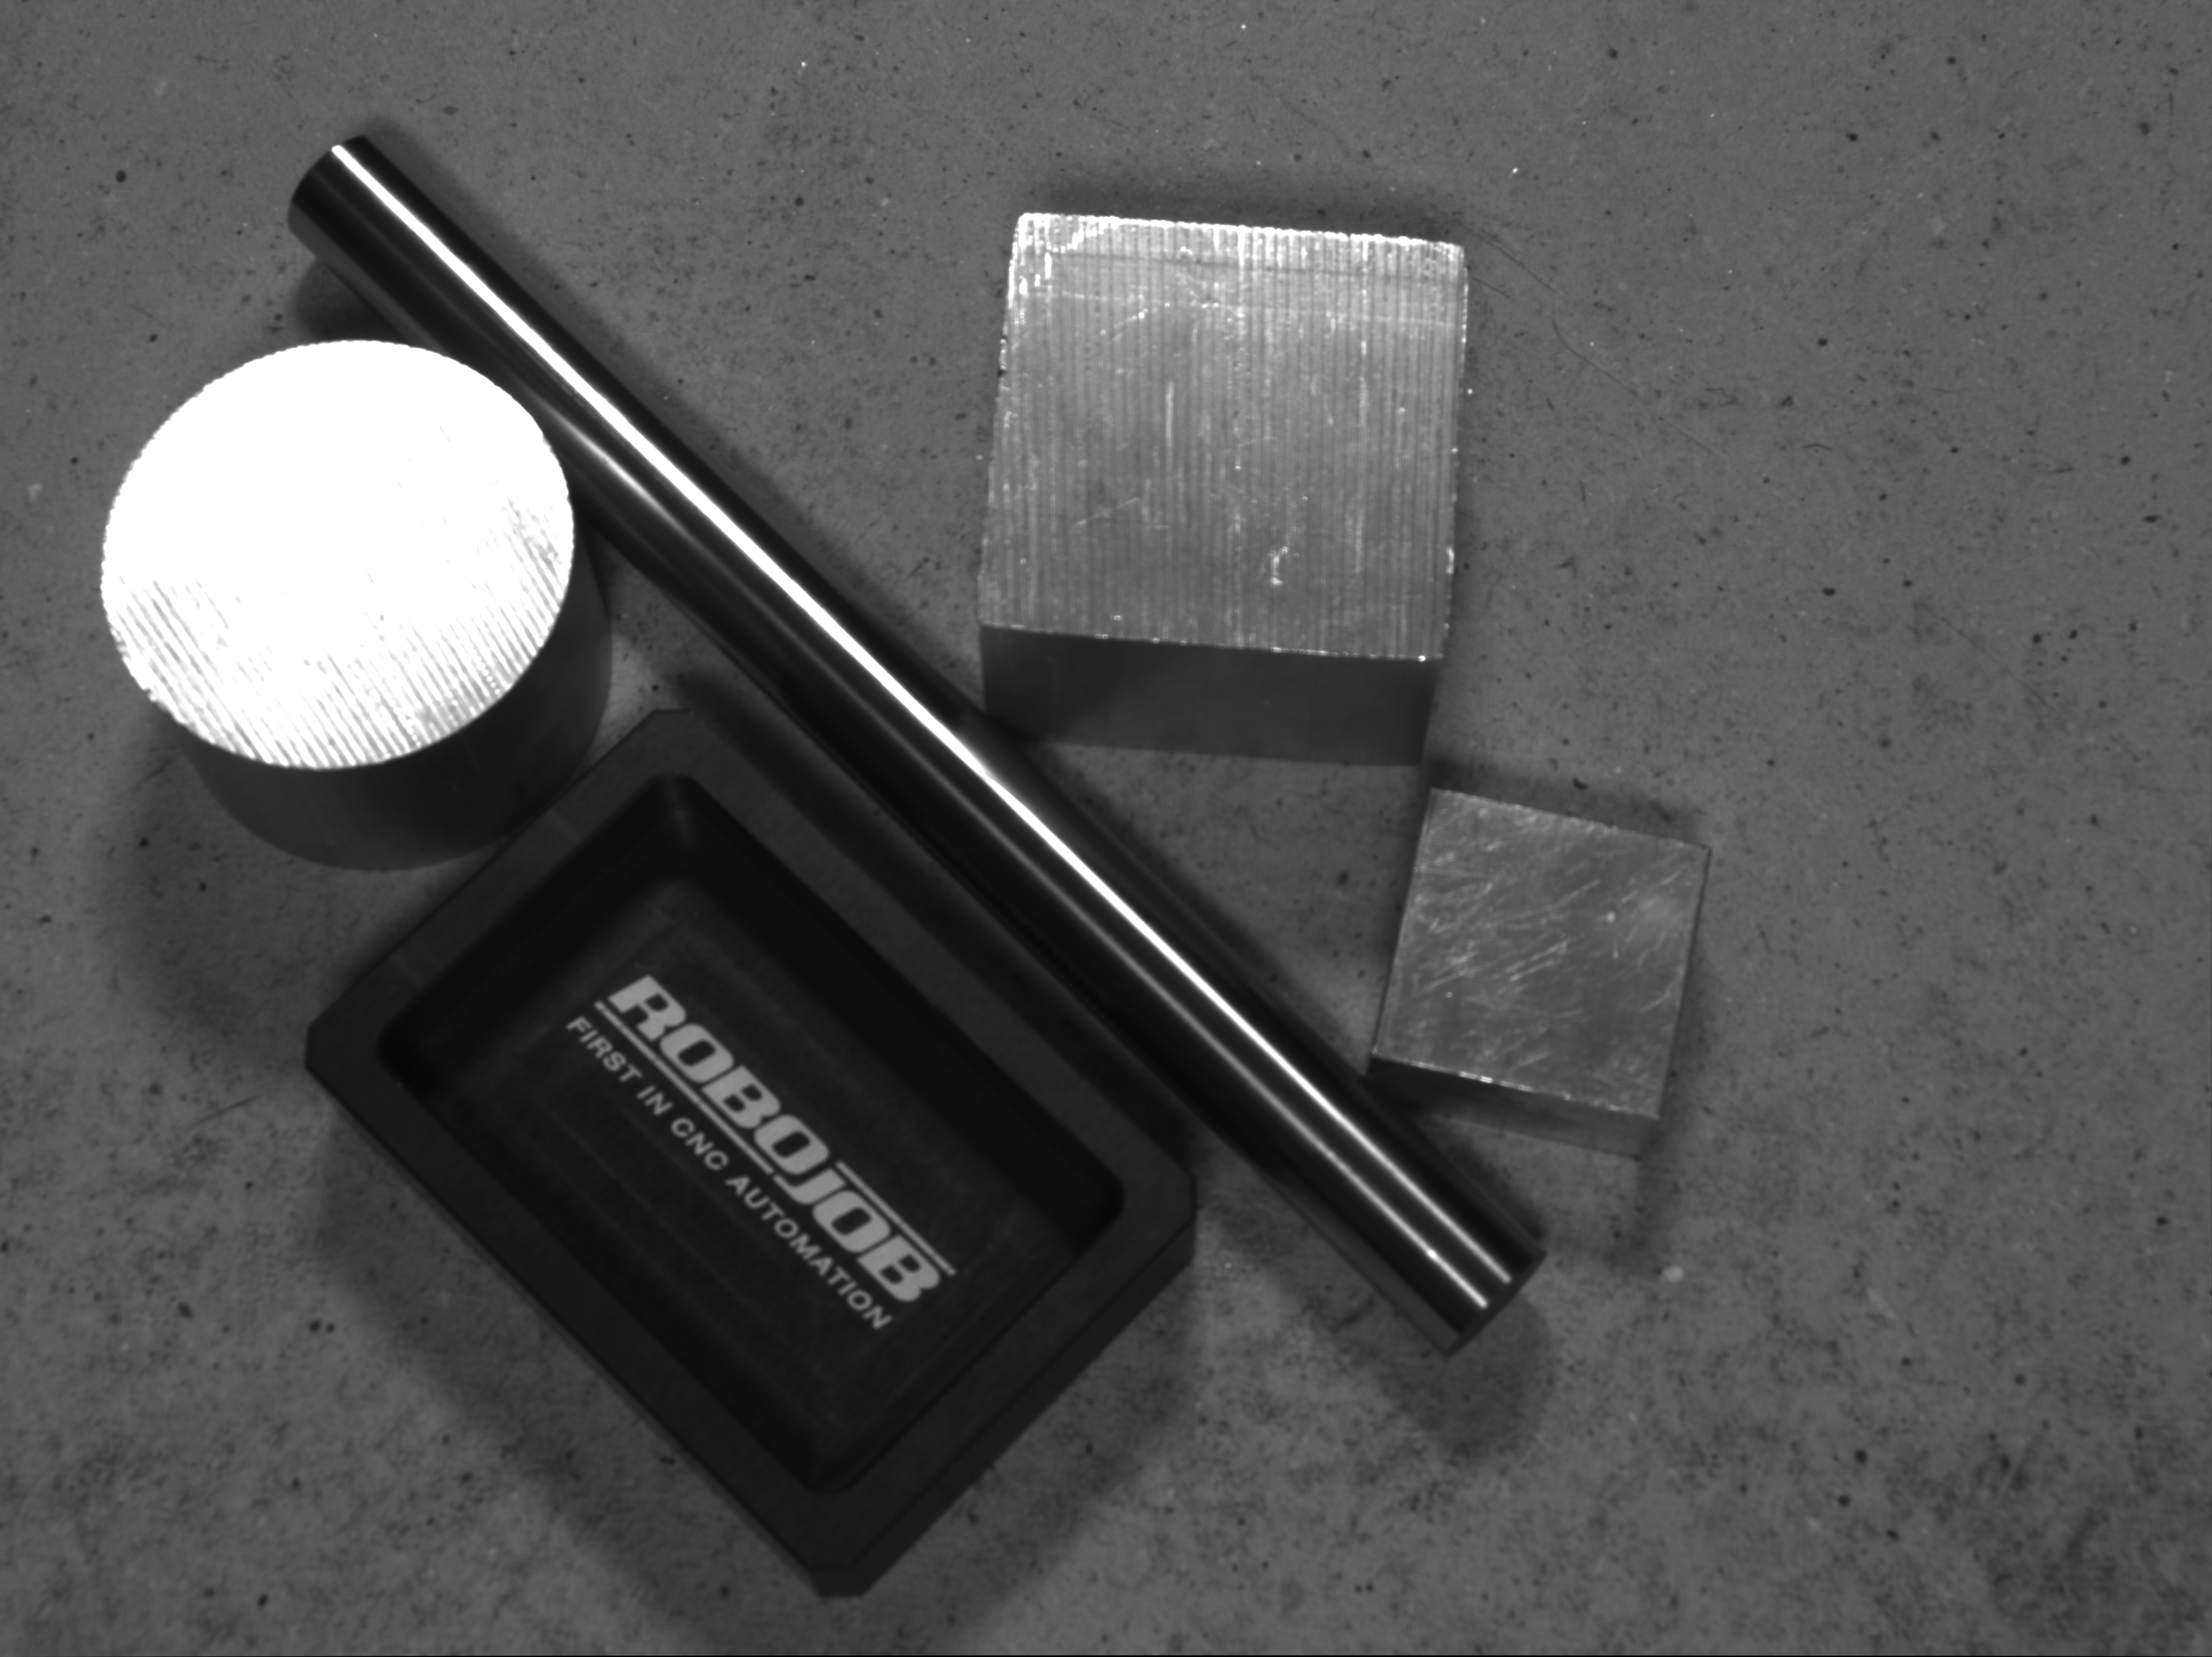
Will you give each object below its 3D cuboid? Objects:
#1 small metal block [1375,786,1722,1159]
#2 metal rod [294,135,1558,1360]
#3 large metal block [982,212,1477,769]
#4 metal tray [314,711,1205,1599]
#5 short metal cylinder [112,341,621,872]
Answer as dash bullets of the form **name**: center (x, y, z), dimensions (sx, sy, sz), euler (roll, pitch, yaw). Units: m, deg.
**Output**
- **small metal block**: center (0.076, 0.025, 0.636), dimensions (0.050, 0.025, 0.050), euler (12, 70, 4)
- **metal rod**: center (-0.038, -0.020, 0.652), dimensions (0.025, 0.025, 0.300), euler (-43, 75, -14)
- **large metal block**: center (0.022, -0.060, 0.654), dimensions (0.080, 0.050, 0.080), euler (4, 70, 2)
- **metal tray**: center (-0.058, 0.054, 0.622), dimensions (0.130, 0.030, 0.090), euler (42, 75, 14)
- **short metal cylinder**: center (-0.129, -0.038, 0.646), dimensions (0.080, 0.050, 0.080), euler (0, 70, 0)
